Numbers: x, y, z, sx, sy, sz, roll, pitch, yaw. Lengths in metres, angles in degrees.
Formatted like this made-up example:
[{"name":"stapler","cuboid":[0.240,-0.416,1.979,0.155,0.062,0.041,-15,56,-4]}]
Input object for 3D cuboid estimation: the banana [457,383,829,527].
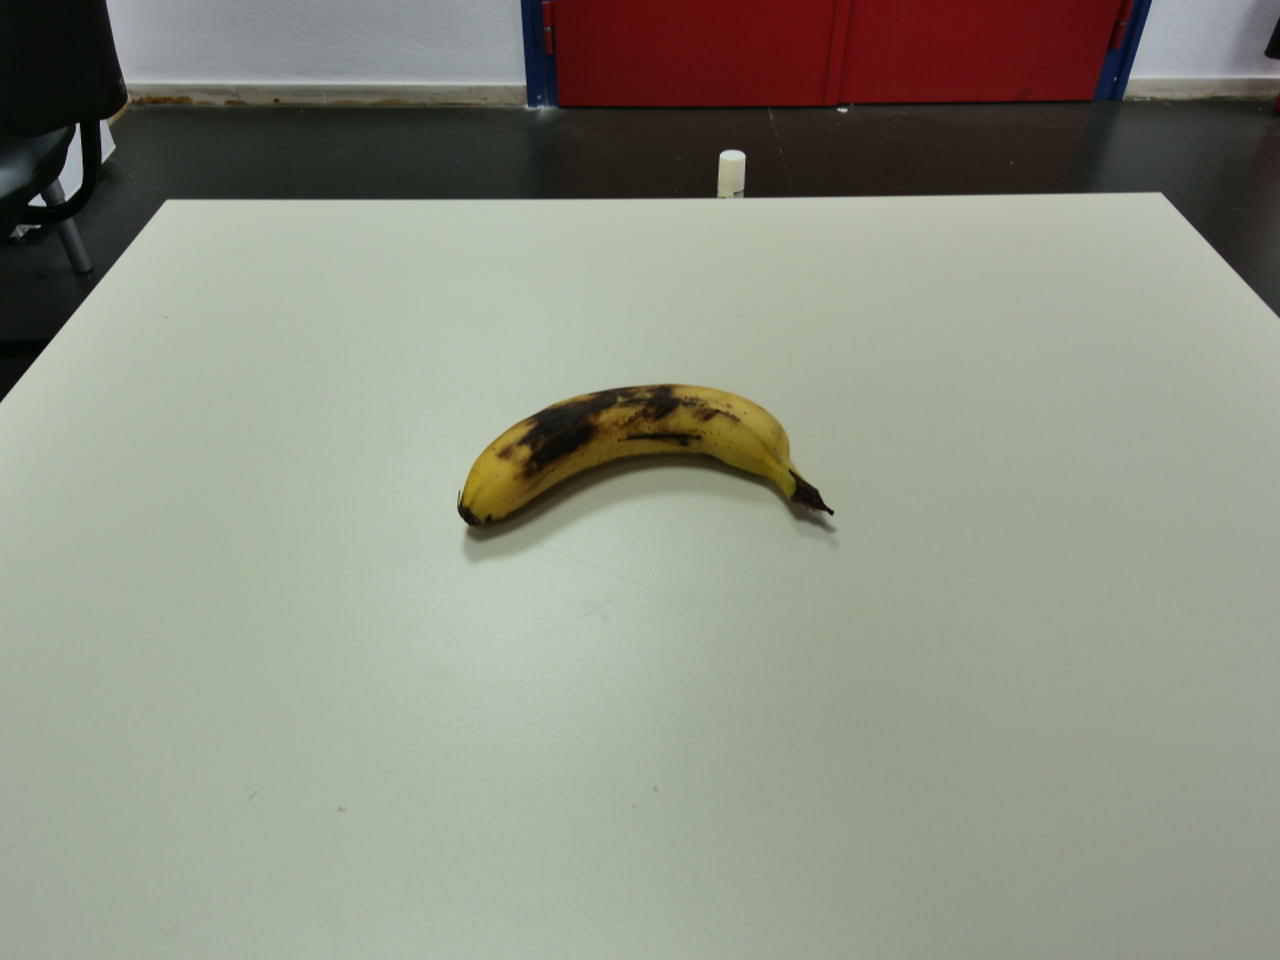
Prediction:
[{"name":"banana","cuboid":[0.000,-0.017,0.536,0.187,0.039,0.094,-1,39,-2]}]
